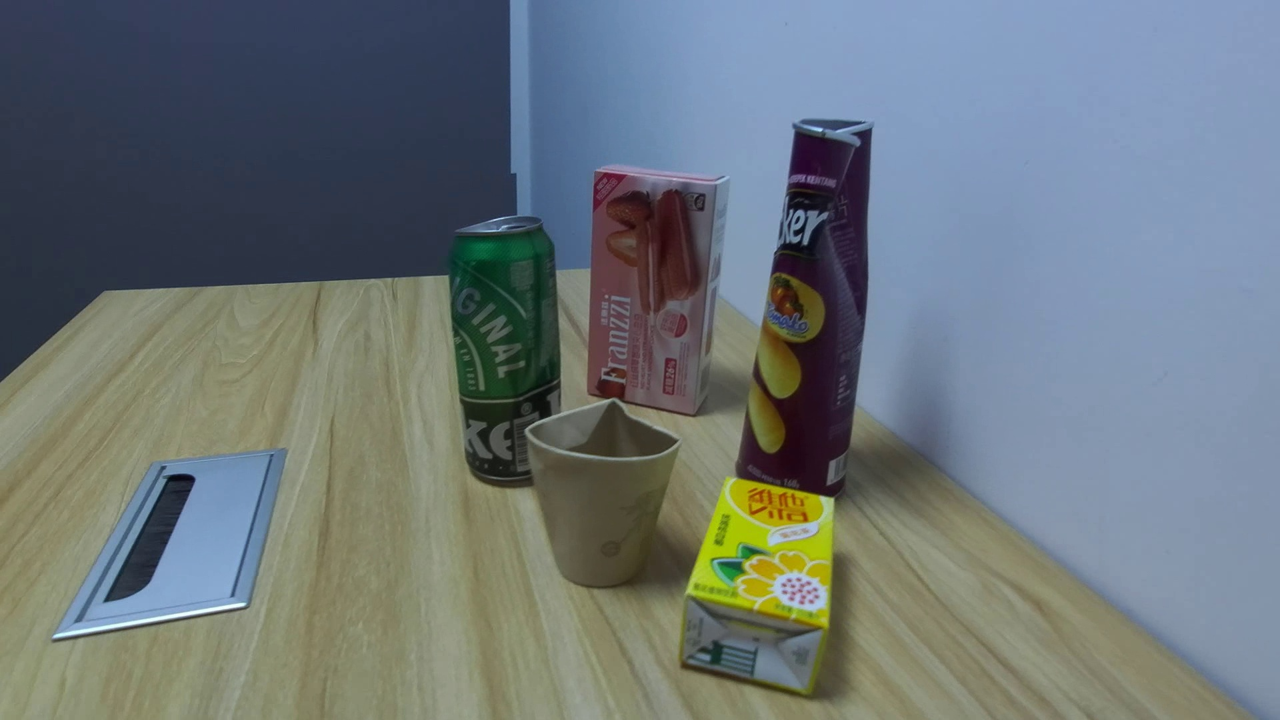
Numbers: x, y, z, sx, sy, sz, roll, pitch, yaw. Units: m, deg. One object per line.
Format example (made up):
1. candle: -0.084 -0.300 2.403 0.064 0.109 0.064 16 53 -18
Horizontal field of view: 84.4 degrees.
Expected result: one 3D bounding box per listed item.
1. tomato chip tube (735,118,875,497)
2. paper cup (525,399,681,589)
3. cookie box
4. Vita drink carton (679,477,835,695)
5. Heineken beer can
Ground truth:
1. tomato chip tube: 0.112 -0.026 0.446 0.078 0.235 0.076 -3 24 -16
2. paper cup: -0.021 0.075 0.387 0.066 0.084 0.071 -16 29 -37
3. cookie box: 0.012 -0.055 0.562 0.096 0.184 0.048 10 22 17
4. Vita drink carton: 0.064 0.110 0.365 0.066 0.043 0.109 10 23 13
5. Heineken beer can: -0.087 -0.005 0.466 0.068 0.168 0.069 -7 21 -16
